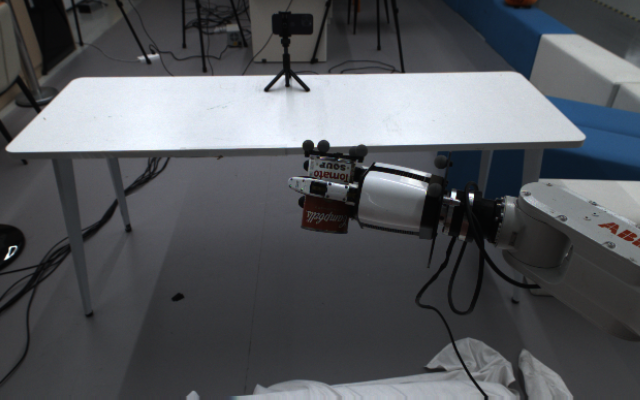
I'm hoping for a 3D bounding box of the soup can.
[{"bbox_3d":[0.013,-0.007,0.682,0.067,0.101,0.067,7,3,0],"label":"soup can"}]
